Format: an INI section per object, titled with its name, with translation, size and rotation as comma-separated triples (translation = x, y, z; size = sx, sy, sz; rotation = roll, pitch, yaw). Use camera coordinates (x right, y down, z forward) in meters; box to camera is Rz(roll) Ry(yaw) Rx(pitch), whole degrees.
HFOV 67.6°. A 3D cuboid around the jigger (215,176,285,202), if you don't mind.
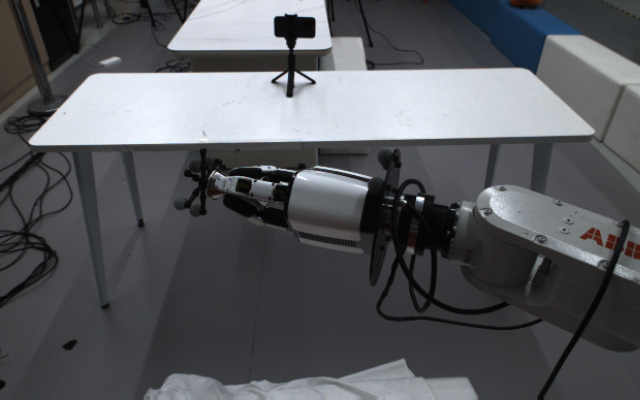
[jigger]
translation = -0.098, -0.018, 0.601
size = 0.071, 0.043, 0.043
rotation = 10, 35, 16
